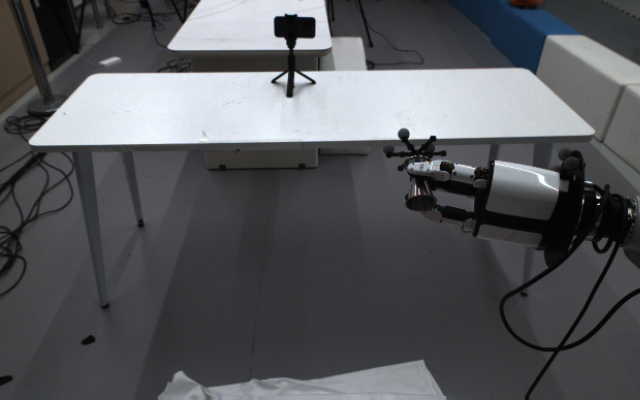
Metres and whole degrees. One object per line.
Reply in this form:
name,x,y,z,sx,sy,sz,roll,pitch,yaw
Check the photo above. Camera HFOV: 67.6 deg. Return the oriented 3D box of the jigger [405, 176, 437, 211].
jigger,0.140,-0.028,0.685,0.043,0.043,0.071,2,59,-1
